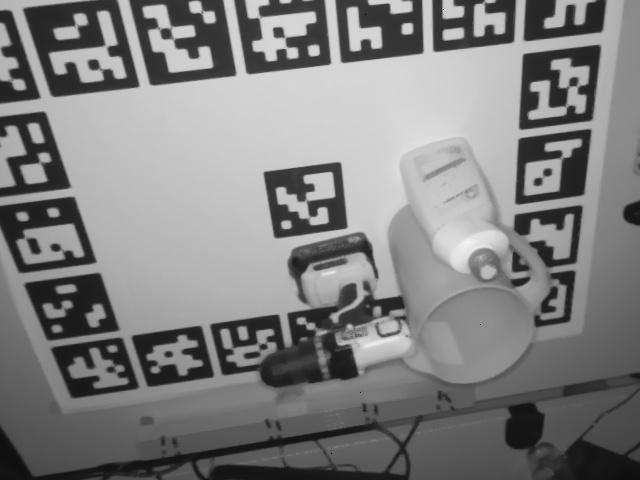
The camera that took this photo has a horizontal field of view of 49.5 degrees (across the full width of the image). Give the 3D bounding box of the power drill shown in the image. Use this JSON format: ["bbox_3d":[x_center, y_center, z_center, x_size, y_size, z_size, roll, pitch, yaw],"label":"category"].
[{"bbox_3d":[0.021,0.104,0.836,0.184,0.188,0.057,-10,116,6],"label":"power drill"}]

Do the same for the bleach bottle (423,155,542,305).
[{"bbox_3d":[0.186,-0.012,0.760,0.102,0.252,0.067,-15,118,2],"label":"bleach bottle"}]

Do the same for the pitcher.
[{"bbox_3d":[0.186,0.068,0.825,0.188,0.243,0.133,-32,115,11],"label":"pitcher"}]
